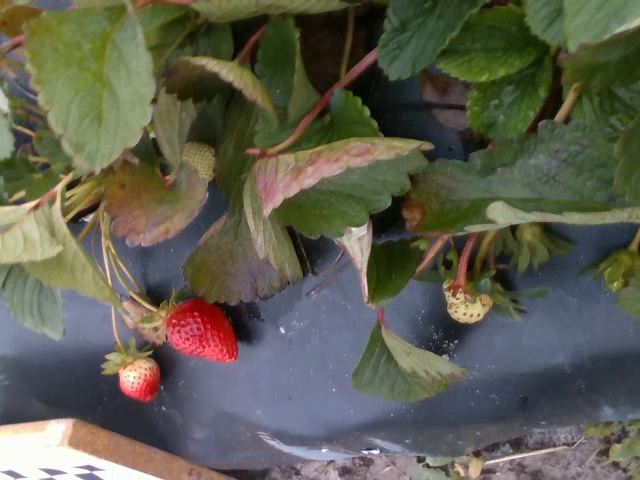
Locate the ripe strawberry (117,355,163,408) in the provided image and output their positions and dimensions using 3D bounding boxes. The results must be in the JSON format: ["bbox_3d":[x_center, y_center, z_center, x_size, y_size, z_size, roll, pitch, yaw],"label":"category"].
[{"bbox_3d":[-0.126,0.098,0.417,0.036,0.041,0.028,-5,39,35],"label":"ripe strawberry"}]

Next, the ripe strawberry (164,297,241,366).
[{"bbox_3d":[-0.074,0.059,0.370,0.059,0.042,0.044,32,-23,2],"label":"ripe strawberry"}]
